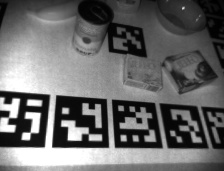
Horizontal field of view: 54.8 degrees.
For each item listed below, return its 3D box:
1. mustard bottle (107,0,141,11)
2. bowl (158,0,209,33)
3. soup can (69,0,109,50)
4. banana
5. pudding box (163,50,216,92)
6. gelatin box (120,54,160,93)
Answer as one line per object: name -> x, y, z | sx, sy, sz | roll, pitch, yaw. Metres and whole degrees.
mustard bottle -> 0.055, -0.279, 0.529 | 0.097, 0.191, 0.058 | 6, 56, -15
bowl -> 0.199, -0.207, 0.635 | 0.163, 0.055, 0.161 | 8, 58, -13
soup can -> -0.054, -0.134, 0.464 | 0.068, 0.102, 0.067 | 10, 57, -14
banana -> -0.108, -0.216, 0.541 | 0.073, 0.039, 0.198 | 37, 56, 16
pudding box -> 0.197, -0.041, 0.545 | 0.115, 0.038, 0.089 | -17, 73, -26
gelatin box -> 0.065, -0.029, 0.498 | 0.090, 0.030, 0.073 | 12, 61, -11
